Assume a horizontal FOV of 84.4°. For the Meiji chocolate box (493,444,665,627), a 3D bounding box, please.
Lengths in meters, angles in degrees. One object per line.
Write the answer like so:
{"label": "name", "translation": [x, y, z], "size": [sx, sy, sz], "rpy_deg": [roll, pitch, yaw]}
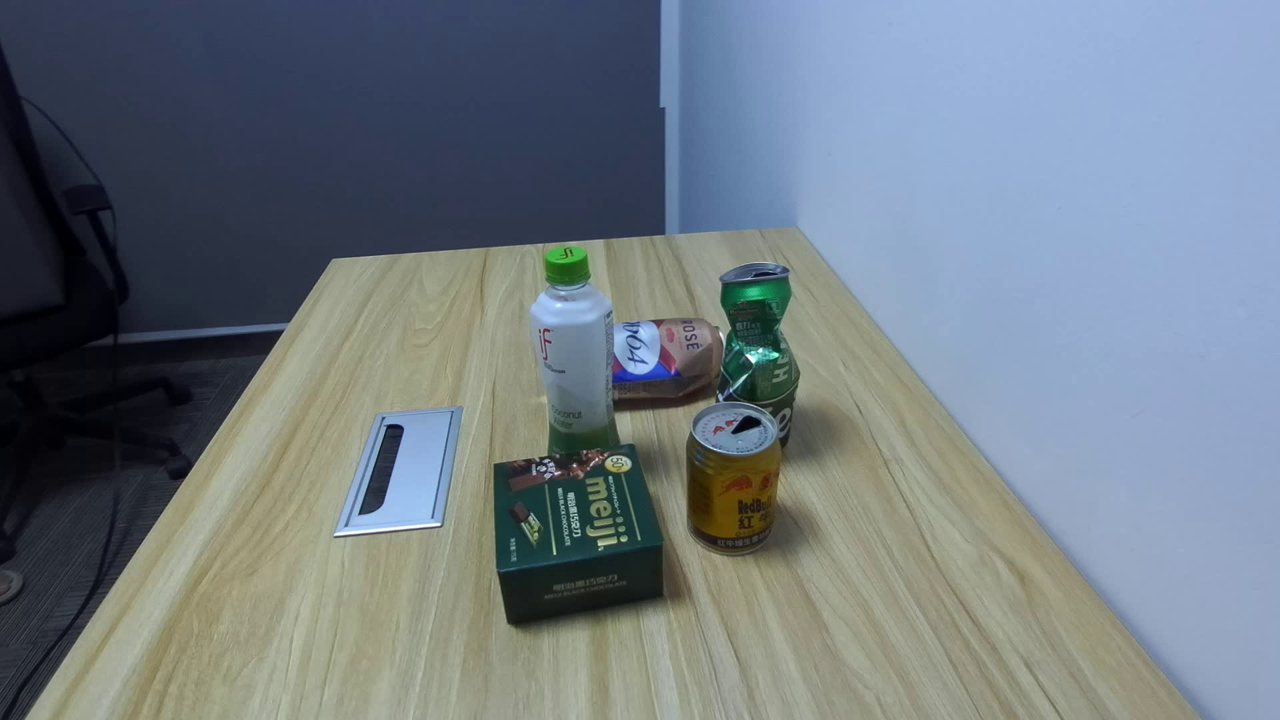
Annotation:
{"label": "Meiji chocolate box", "translation": [-0.046, 0.118, 0.498], "size": [0.109, 0.056, 0.109], "rpy_deg": [-7, 32, -9]}

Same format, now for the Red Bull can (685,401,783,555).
{"label": "Red Bull can", "translation": [0.066, 0.083, 0.504], "size": [0.069, 0.092, 0.069], "rpy_deg": [-1, 33, 1]}

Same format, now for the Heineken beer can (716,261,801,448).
{"label": "Heineken beer can", "translation": [0.096, 0.004, 0.576], "size": [0.067, 0.159, 0.078], "rpy_deg": [-15, 26, -27]}

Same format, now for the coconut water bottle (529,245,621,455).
{"label": "coconut water bottle", "translation": [-0.049, 0.005, 0.547], "size": [0.063, 0.189, 0.063], "rpy_deg": [-2, 30, 1]}

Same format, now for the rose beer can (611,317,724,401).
{"label": "rose beer can", "translation": [-0.002, -0.001, 0.673], "size": [0.168, 0.069, 0.069], "rpy_deg": [-6, 12, -9]}
